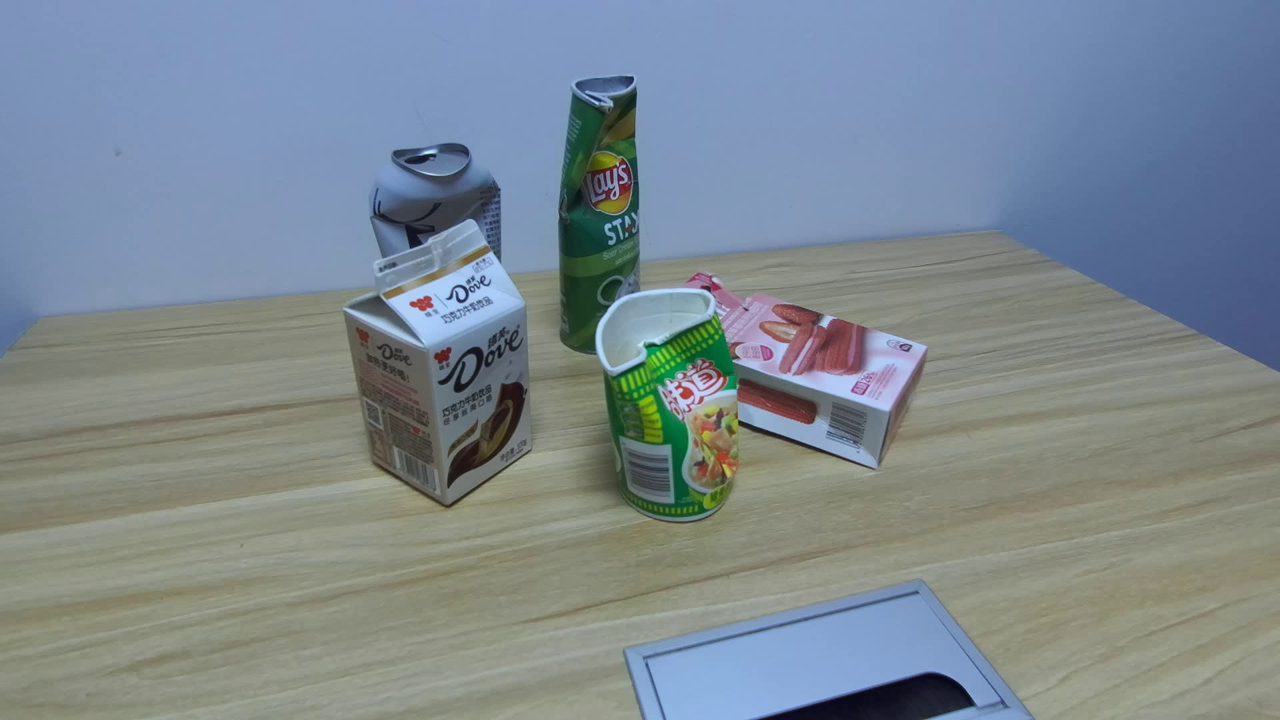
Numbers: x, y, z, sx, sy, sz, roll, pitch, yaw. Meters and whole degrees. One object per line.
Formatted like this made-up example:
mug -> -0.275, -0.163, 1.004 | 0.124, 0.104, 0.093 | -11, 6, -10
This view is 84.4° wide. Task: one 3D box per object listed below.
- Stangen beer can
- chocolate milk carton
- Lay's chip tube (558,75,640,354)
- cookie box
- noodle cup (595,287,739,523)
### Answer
Stangen beer can -> -0.144, -0.072, 0.518 | 0.065, 0.162, 0.077 | 13, 37, 15
chocolate milk carton -> -0.116, -0.003, 0.415 | 0.073, 0.148, 0.075 | 22, 35, 29
Lay's chip tube -> -0.030, -0.107, 0.540 | 0.069, 0.201, 0.077 | -5, 33, -11
cookie box -> 0.096, 0.004, 0.502 | 0.185, 0.059, 0.105 | 22, 40, 24
noodle cup -> 0.020, 0.027, 0.403 | 0.083, 0.122, 0.075 | -20, 28, -14
